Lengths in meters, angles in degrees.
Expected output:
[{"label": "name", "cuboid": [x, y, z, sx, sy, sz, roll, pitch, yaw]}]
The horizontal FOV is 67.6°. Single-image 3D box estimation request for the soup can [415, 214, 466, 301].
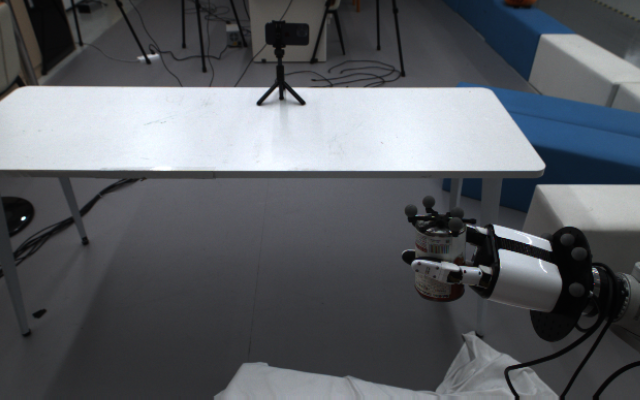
[{"label": "soup can", "cuboid": [0.165, 0.077, 0.660, 0.067, 0.101, 0.067, -4, 21, 2]}]
